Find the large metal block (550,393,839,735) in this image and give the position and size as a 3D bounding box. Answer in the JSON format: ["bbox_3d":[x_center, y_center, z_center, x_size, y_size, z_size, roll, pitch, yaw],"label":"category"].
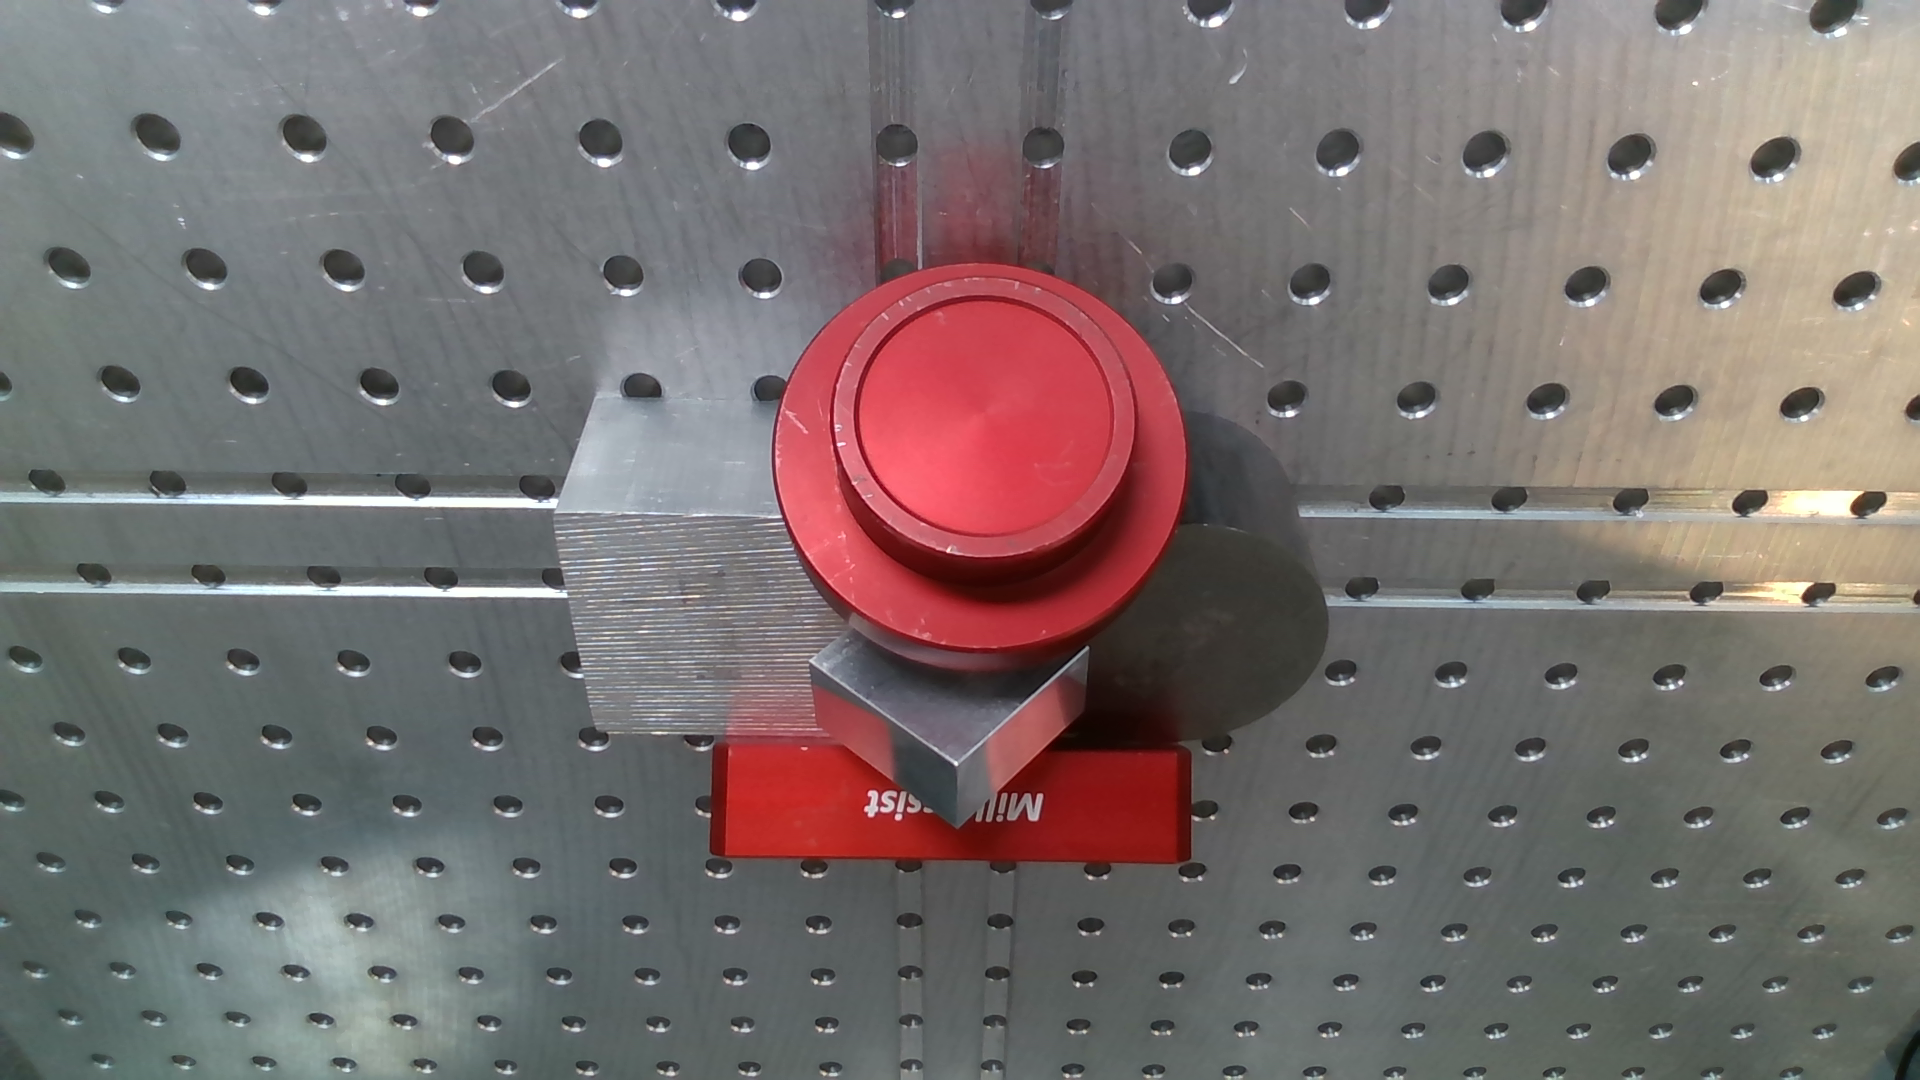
[{"bbox_3d":[-0.062,0.008,0.382,0.080,0.050,0.080,2,130,-1],"label":"large metal block"}]

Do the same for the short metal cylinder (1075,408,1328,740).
[{"bbox_3d":[0.057,0.010,0.383,0.080,0.050,0.080,0,130,0],"label":"short metal cylinder"}]

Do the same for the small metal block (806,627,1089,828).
[{"bbox_3d":[-0.003,0.037,0.352,0.050,0.050,0.025,32,142,29],"label":"small metal block"}]

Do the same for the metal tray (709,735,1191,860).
[{"bbox_3d":[-0.003,0.072,0.413,0.130,0.090,0.030,1,87,-1],"label":"metal tray"}]

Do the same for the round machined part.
[{"bbox_3d":[0.004,-0.022,0.321,0.098,0.098,0.042,1,163,-1],"label":"round machined part"}]
